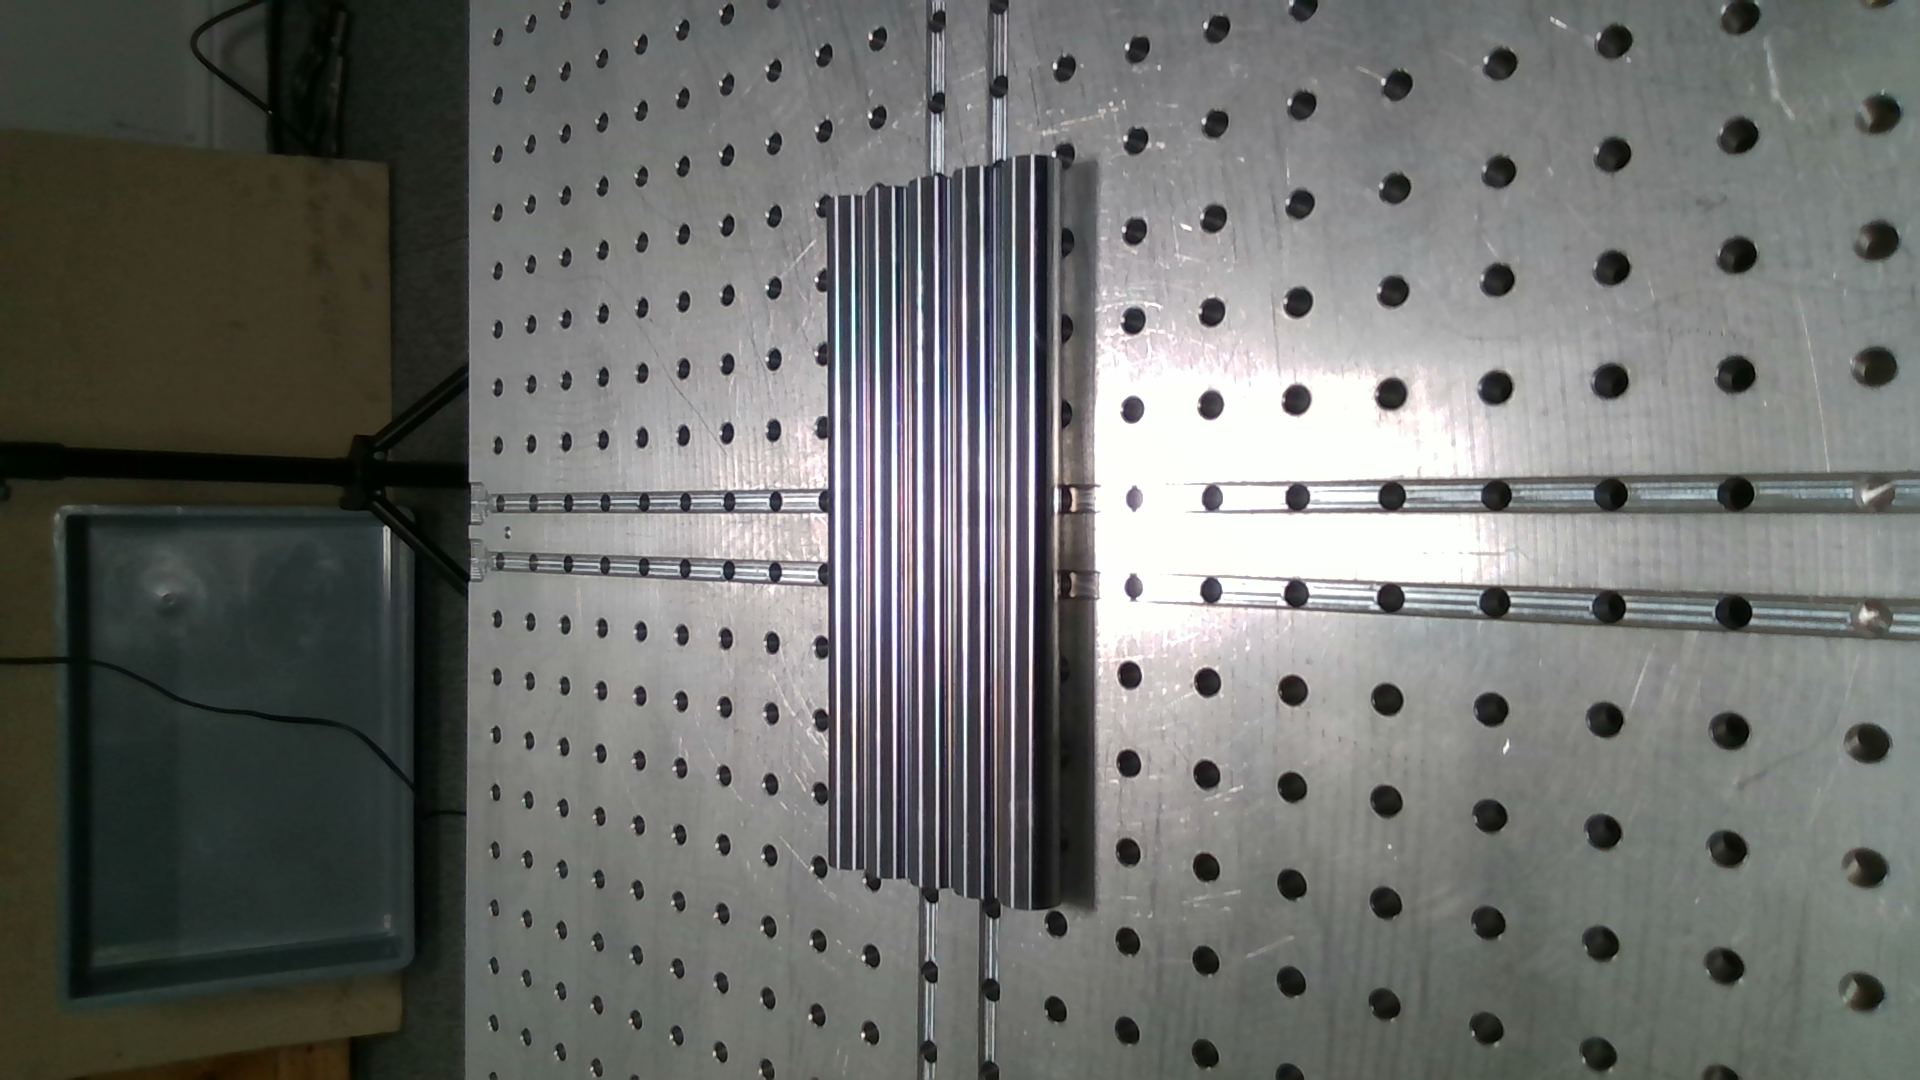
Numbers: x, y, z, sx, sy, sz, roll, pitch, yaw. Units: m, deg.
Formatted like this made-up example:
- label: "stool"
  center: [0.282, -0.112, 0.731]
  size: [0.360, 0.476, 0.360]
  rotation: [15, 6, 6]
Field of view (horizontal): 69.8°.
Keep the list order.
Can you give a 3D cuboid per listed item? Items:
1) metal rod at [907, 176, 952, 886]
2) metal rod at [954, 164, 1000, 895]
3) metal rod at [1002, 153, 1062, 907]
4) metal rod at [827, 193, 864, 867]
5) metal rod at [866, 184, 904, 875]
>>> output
- label: "metal rod"
  center: [-0.010, -0.003, 0.593]
  size: [0.025, 0.025, 0.300]
  rotation: [1, 91, 40]
- label: "metal rod"
  center: [0.010, -0.004, 0.577]
  size: [0.025, 0.025, 0.300]
  rotation: [1, 91, 40]
- label: "metal rod"
  center: [0.029, -0.004, 0.561]
  size: [0.025, 0.025, 0.300]
  rotation: [1, 91, 40]
- label: "metal rod"
  center: [-0.048, -0.004, 0.625]
  size: [0.025, 0.025, 0.300]
  rotation: [0, 91, 40]
- label: "metal rod"
  center: [-0.029, -0.004, 0.610]
  size: [0.025, 0.025, 0.300]
  rotation: [1, 91, 40]
